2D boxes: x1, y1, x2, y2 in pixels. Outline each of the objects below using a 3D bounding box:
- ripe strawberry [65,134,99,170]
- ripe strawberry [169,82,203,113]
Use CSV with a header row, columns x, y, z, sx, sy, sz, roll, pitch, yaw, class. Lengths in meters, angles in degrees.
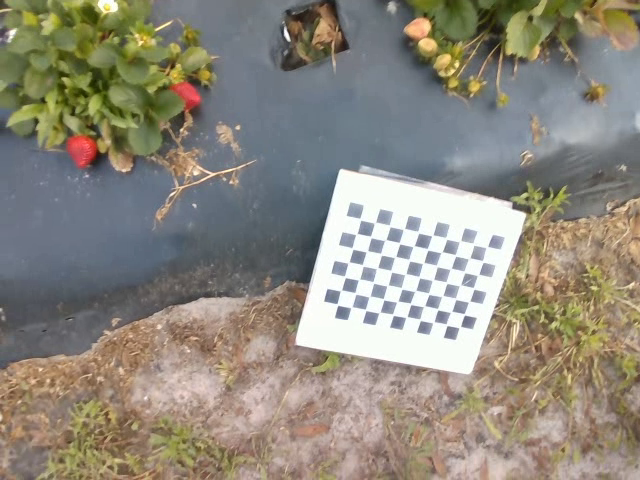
x,y,z,sx,sy,sz,roll,pitch,yaw,class
-0.326,-0.118,0.772,0.043,0.050,0.042,-4,-14,-8,ripe strawberry
-0.188,-0.202,0.794,0.046,0.043,0.047,15,10,19,ripe strawberry
